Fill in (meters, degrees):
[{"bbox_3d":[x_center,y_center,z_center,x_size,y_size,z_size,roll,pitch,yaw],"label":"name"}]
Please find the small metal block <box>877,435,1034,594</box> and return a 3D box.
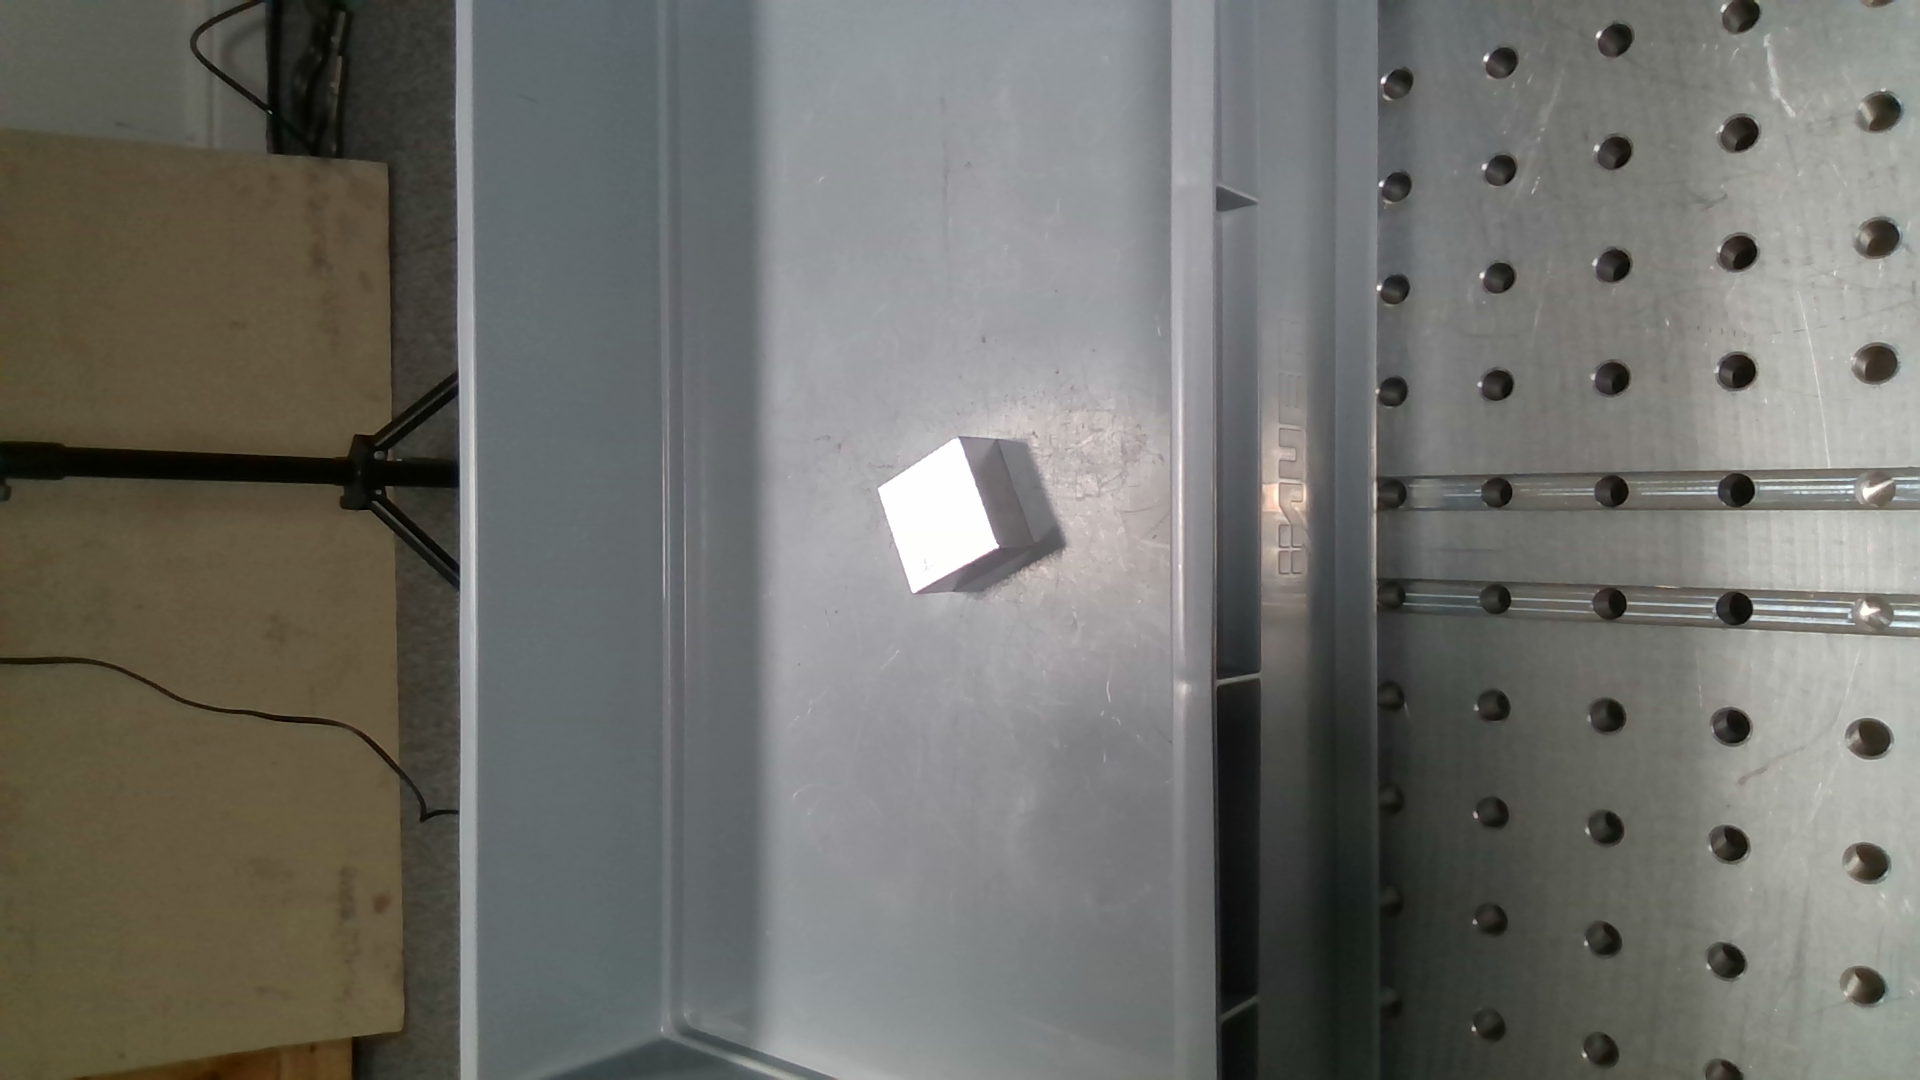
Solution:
[{"bbox_3d":[-0.003,-0.010,0.580,0.050,0.025,0.050,-30,72,37],"label":"small metal block"}]
